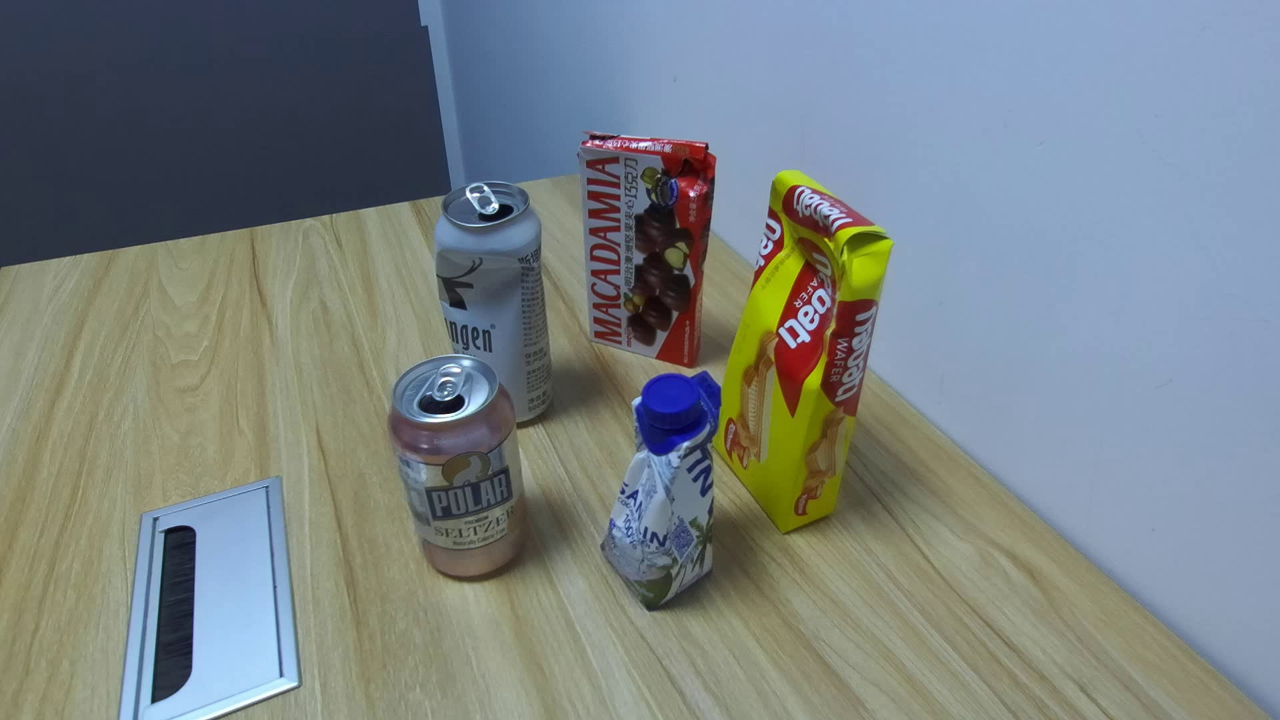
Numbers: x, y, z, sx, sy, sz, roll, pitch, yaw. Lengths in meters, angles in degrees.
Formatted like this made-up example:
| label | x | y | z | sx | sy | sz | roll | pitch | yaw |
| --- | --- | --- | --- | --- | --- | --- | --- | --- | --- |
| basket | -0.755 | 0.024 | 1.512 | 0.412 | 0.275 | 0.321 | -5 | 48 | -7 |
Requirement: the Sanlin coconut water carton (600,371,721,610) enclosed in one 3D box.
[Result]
| label | x | y | z | sx | sy | sz | roll | pitch | yaw |
| --- | --- | --- | --- | --- | --- | --- | --- | --- | --- |
| Sanlin coconut water carton | 0.023 | 0.068 | 0.384 | 0.069 | 0.144 | 0.056 | -19 | 48 | -35 |

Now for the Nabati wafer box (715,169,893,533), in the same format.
| label | x | y | z | sx | sy | sz | roll | pitch | yaw |
| --- | --- | --- | --- | --- | --- | --- | --- | --- | --- |
| Nabati wafer box | 0.090 | 0.001 | 0.420 | 0.043 | 0.205 | 0.113 | -15 | 39 | -21 |

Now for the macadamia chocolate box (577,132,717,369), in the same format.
| label | x | y | z | sx | sy | sz | roll | pitch | yaw |
| --- | --- | --- | --- | --- | --- | --- | --- | --- | --- |
| macadamia chocolate box | 0.006 | -0.080 | 0.537 | 0.102 | 0.187 | 0.027 | 16 | 43 | 19 |

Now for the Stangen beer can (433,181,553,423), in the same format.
| label | x | y | z | sx | sy | sz | roll | pitch | yaw |
| --- | --- | --- | --- | --- | --- | --- | --- | --- | --- |
| Stangen beer can | -0.098 | -0.034 | 0.489 | 0.070 | 0.173 | 0.070 | -19 | 41 | -23 |

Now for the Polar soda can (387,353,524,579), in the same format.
| label | x | y | z | sx | sy | sz | roll | pitch | yaw |
| --- | --- | --- | --- | --- | --- | --- | --- | --- | --- |
| Polar soda can | -0.101 | 0.062 | 0.403 | 0.067 | 0.126 | 0.067 | 1 | 37 | -1 |
